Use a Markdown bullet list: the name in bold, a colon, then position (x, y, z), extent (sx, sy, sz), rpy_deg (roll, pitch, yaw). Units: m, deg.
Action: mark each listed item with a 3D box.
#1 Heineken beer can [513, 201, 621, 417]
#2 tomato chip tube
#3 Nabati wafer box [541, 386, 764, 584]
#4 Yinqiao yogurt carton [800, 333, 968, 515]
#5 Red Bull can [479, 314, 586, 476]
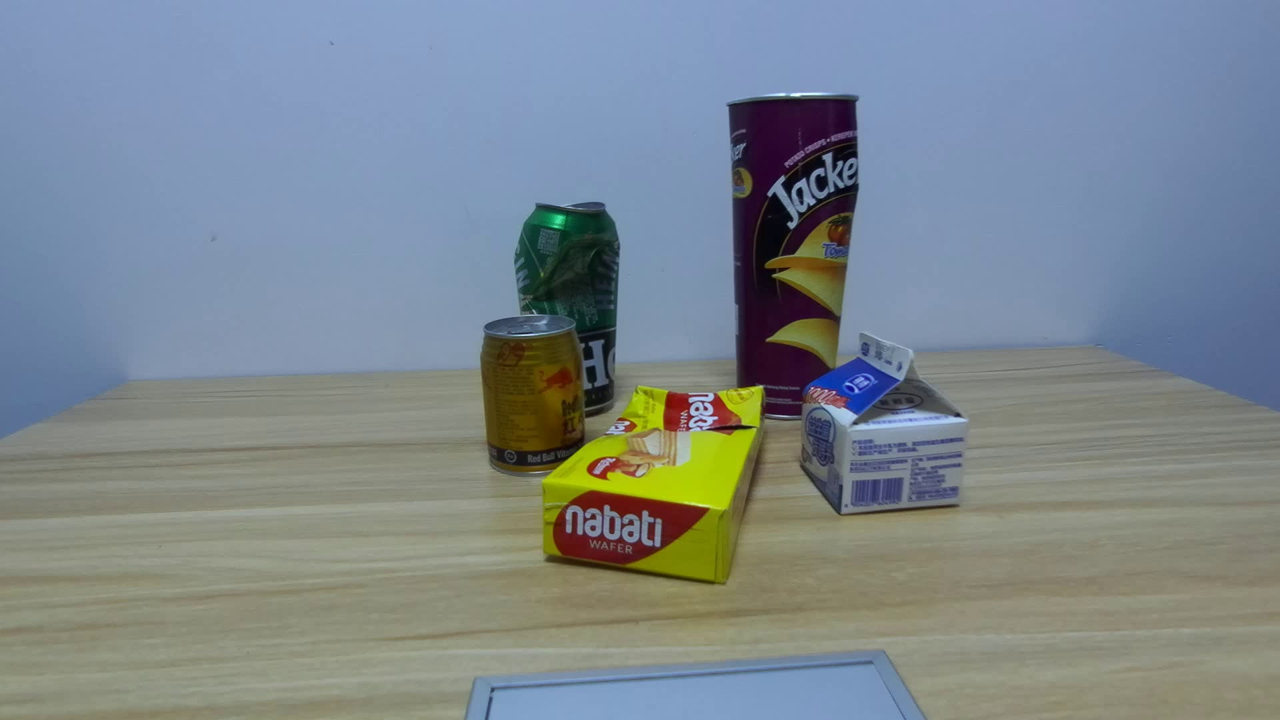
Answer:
- **Heineken beer can**: position (-0.056, -0.039, 0.553), extent (0.077, 0.164, 0.066), rpy_deg (2, 16, 1)
- **tomato chip tube**: position (0.115, -0.077, 0.542), extent (0.076, 0.235, 0.077), rpy_deg (-7, 16, -20)
- **Nabati wafer box**: position (0.018, 0.058, 0.429), extent (0.106, 0.042, 0.204), rpy_deg (4, 15, 14)
- **Yinqiao yogurt carton**: position (0.141, 0.032, 0.416), extent (0.074, 0.092, 0.075), rpy_deg (-2, 14, -6)
- **Red Bull can**: position (-0.071, 0.021, 0.468), extent (0.067, 0.093, 0.067), rpy_deg (0, 16, 0)
